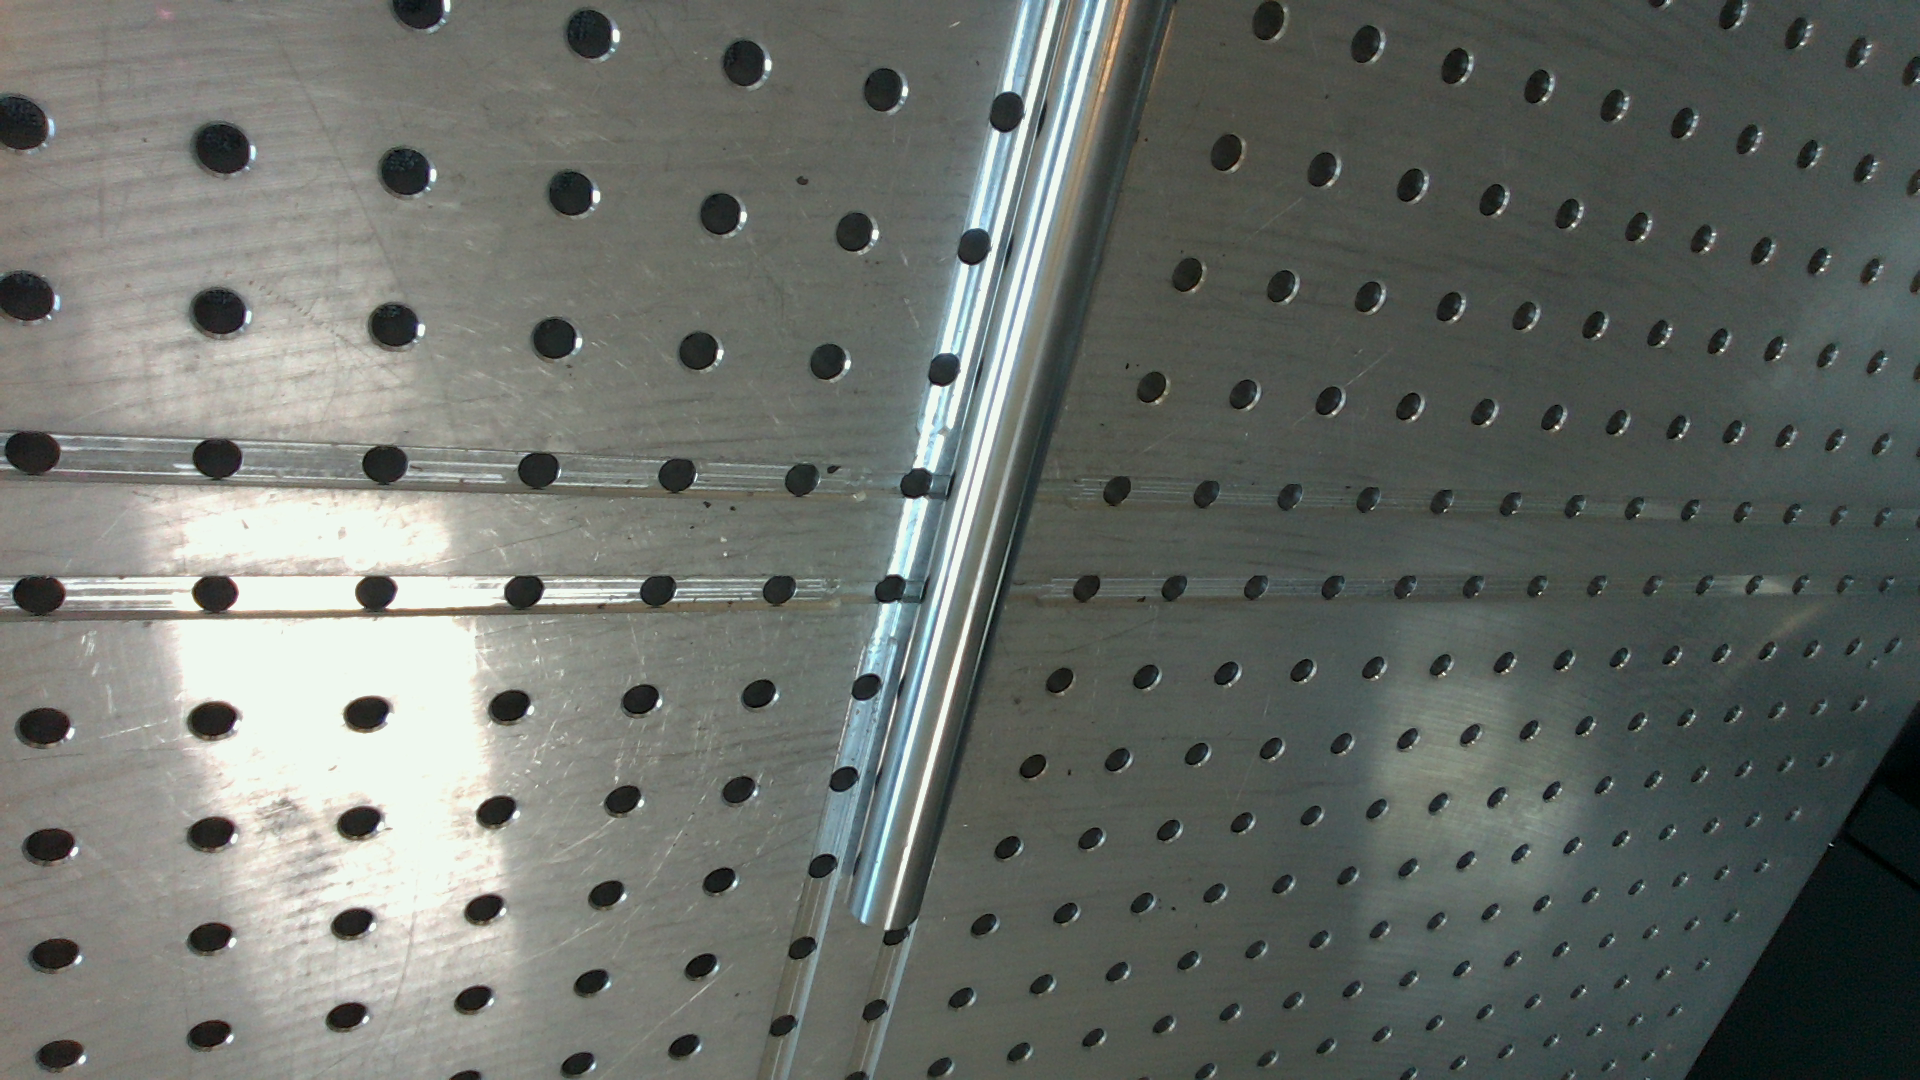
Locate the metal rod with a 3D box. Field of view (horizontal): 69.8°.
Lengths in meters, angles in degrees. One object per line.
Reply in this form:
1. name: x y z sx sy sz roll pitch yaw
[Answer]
1. metal rod: 0.007 -0.013 0.388 0.025 0.025 0.300 0 118 -28
